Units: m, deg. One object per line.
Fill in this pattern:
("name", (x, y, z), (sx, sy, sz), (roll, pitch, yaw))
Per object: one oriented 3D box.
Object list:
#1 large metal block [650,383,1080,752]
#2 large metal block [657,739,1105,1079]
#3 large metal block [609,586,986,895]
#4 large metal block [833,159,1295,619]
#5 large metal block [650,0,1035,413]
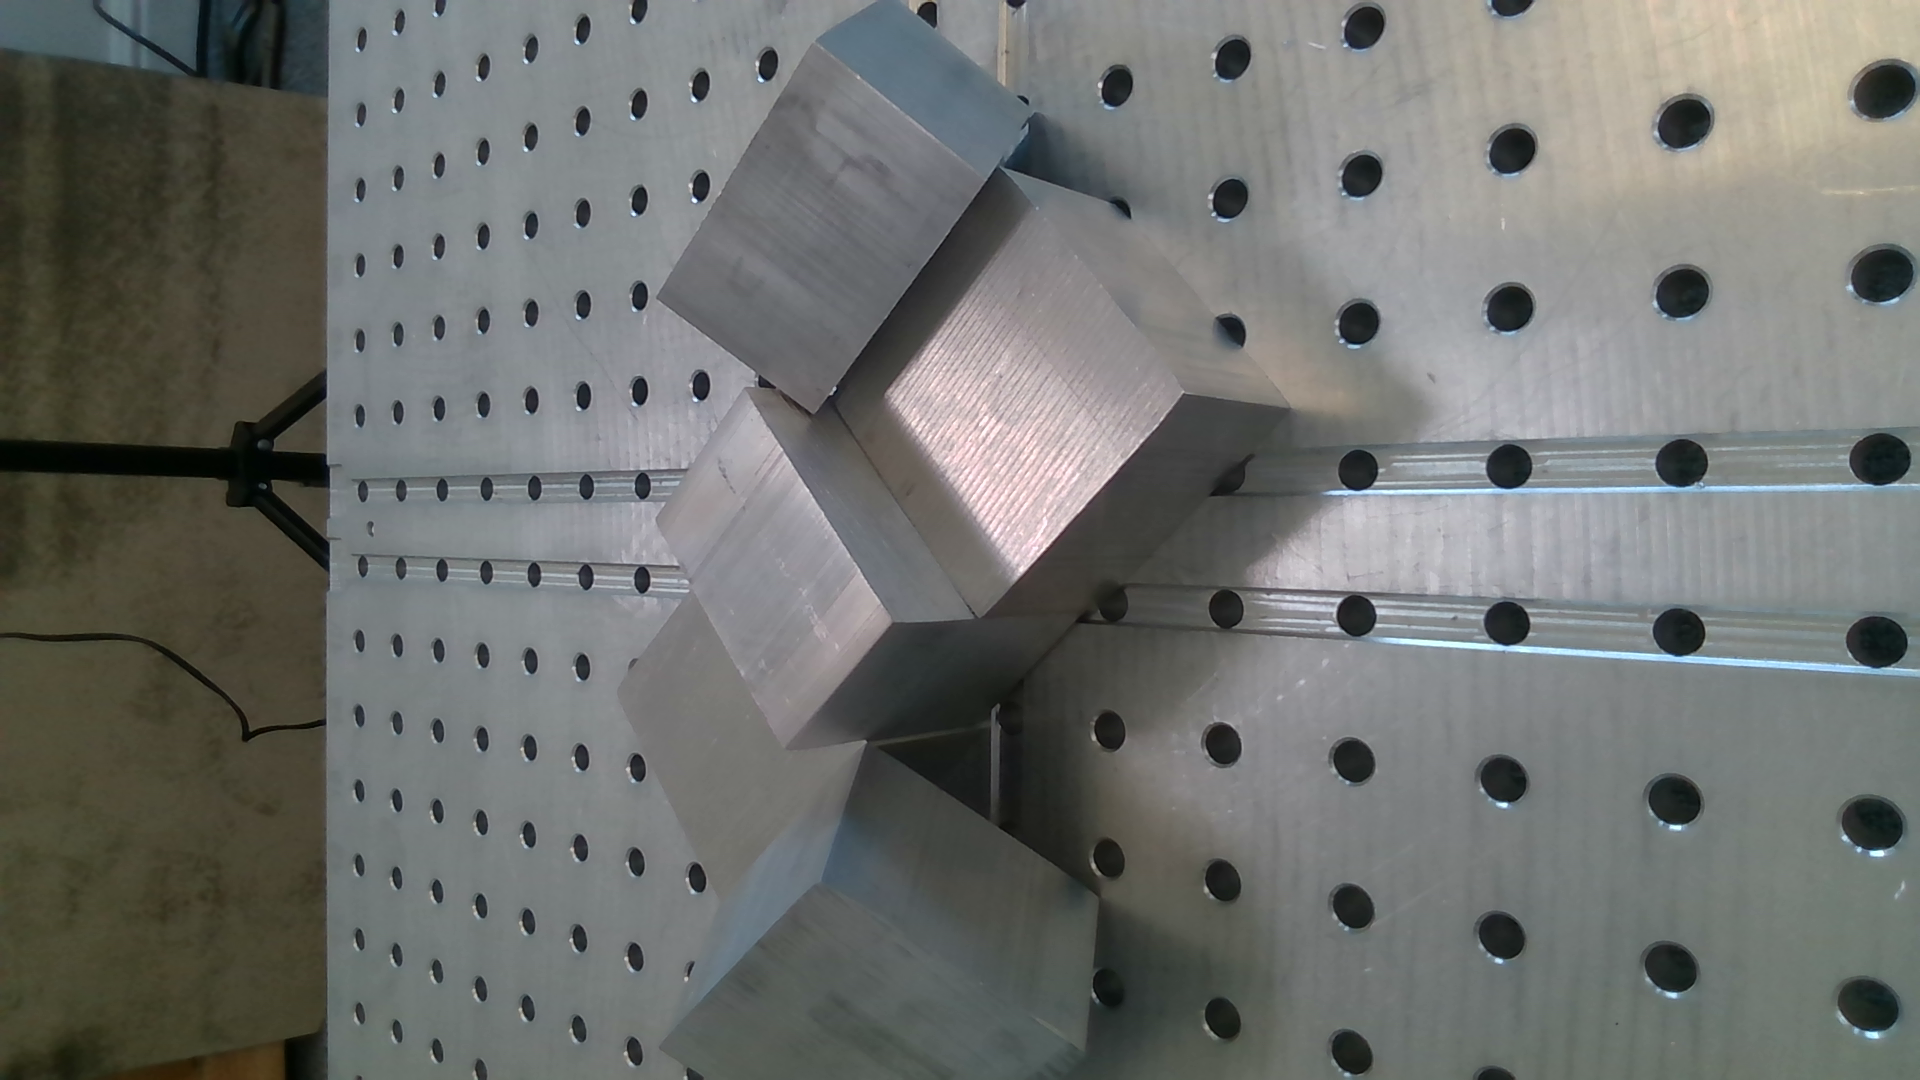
("large metal block", (-0.024, 0.006, 0.377), (0.050, 0.080, 0.080), (-51, 60, 30))
("large metal block", (-0.020, 0.114, 0.367), (0.080, 0.050, 0.080), (35, 120, -10))
("large metal block", (-0.052, 0.050, 0.421), (0.080, 0.050, 0.080), (-48, 62, 28))
("large metal block", (0.023, -0.037, 0.357), (0.080, 0.050, 0.080), (-50, 59, 29))
("large metal block", (-0.029, -0.093, 0.372), (0.050, 0.080, 0.080), (36, 120, -9))
